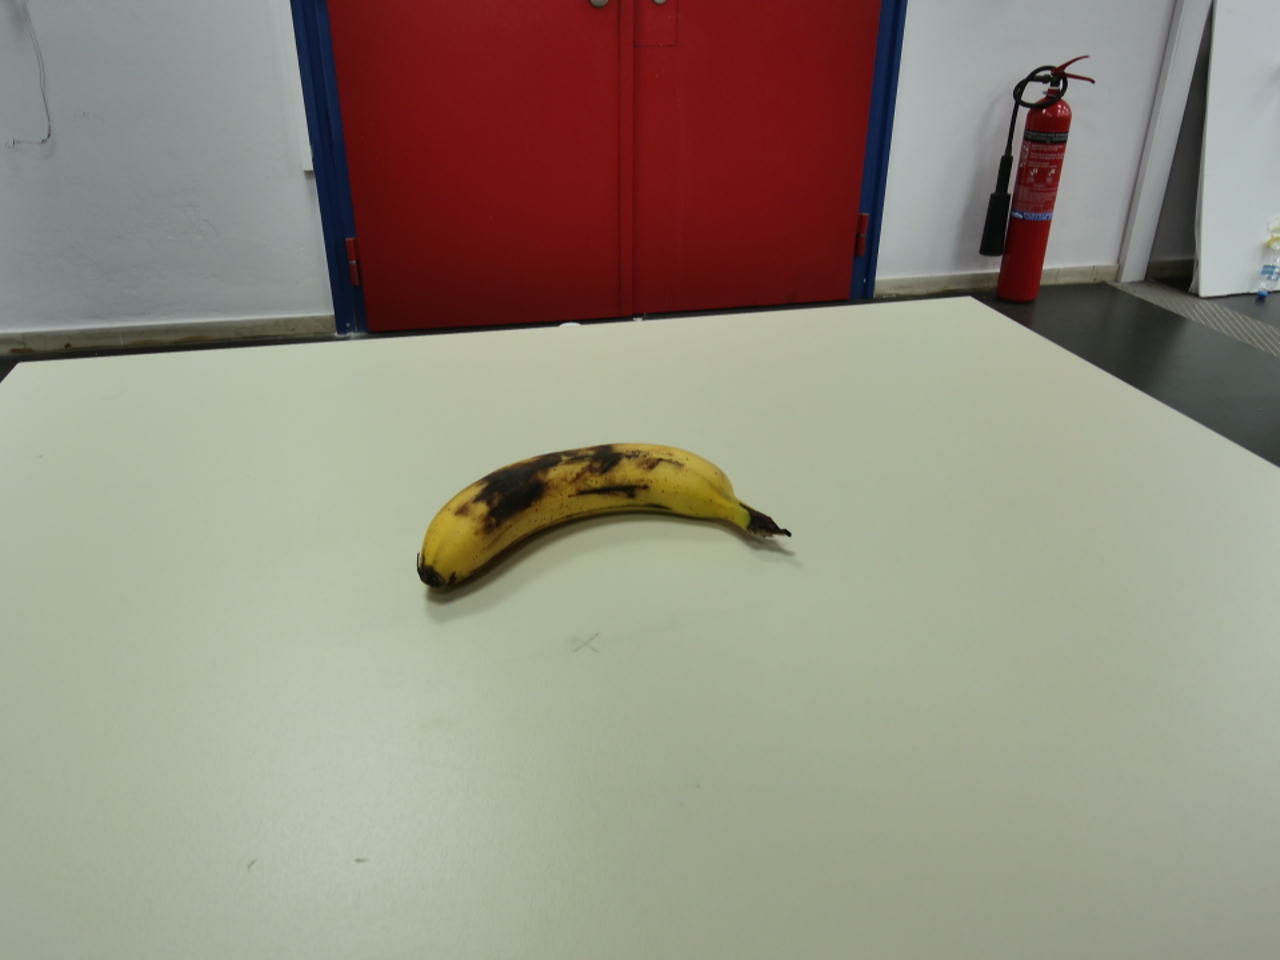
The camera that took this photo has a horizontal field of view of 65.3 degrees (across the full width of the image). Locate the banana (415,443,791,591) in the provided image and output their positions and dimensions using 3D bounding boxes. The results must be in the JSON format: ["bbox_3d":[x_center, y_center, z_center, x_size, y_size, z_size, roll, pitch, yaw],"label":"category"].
[{"bbox_3d":[-0.026,0.014,0.525,0.187,0.039,0.094,-6,26,-13],"label":"banana"}]
